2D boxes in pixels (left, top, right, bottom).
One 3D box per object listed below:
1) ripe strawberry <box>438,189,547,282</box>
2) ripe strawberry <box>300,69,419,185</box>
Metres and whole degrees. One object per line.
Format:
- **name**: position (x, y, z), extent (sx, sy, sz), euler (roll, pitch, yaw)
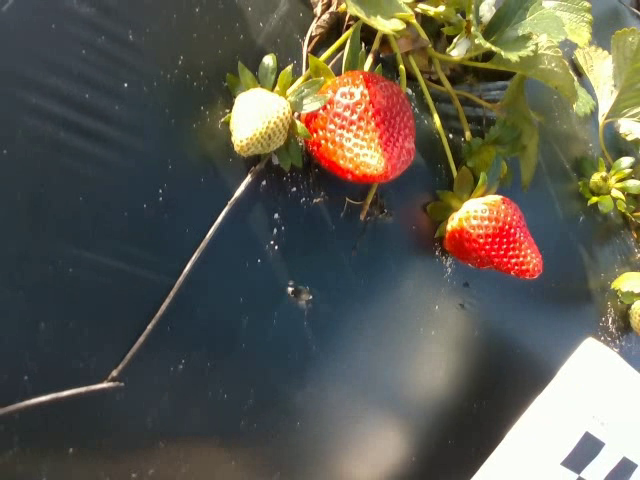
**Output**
- **ripe strawberry**: position (0.065, 0.000, 0.200), extent (0.037, 0.039, 0.033), euler (-37, -38, 7)
- **ripe strawberry**: position (0.015, -0.029, 0.161), extent (0.035, 0.036, 0.041), euler (18, -51, -25)
